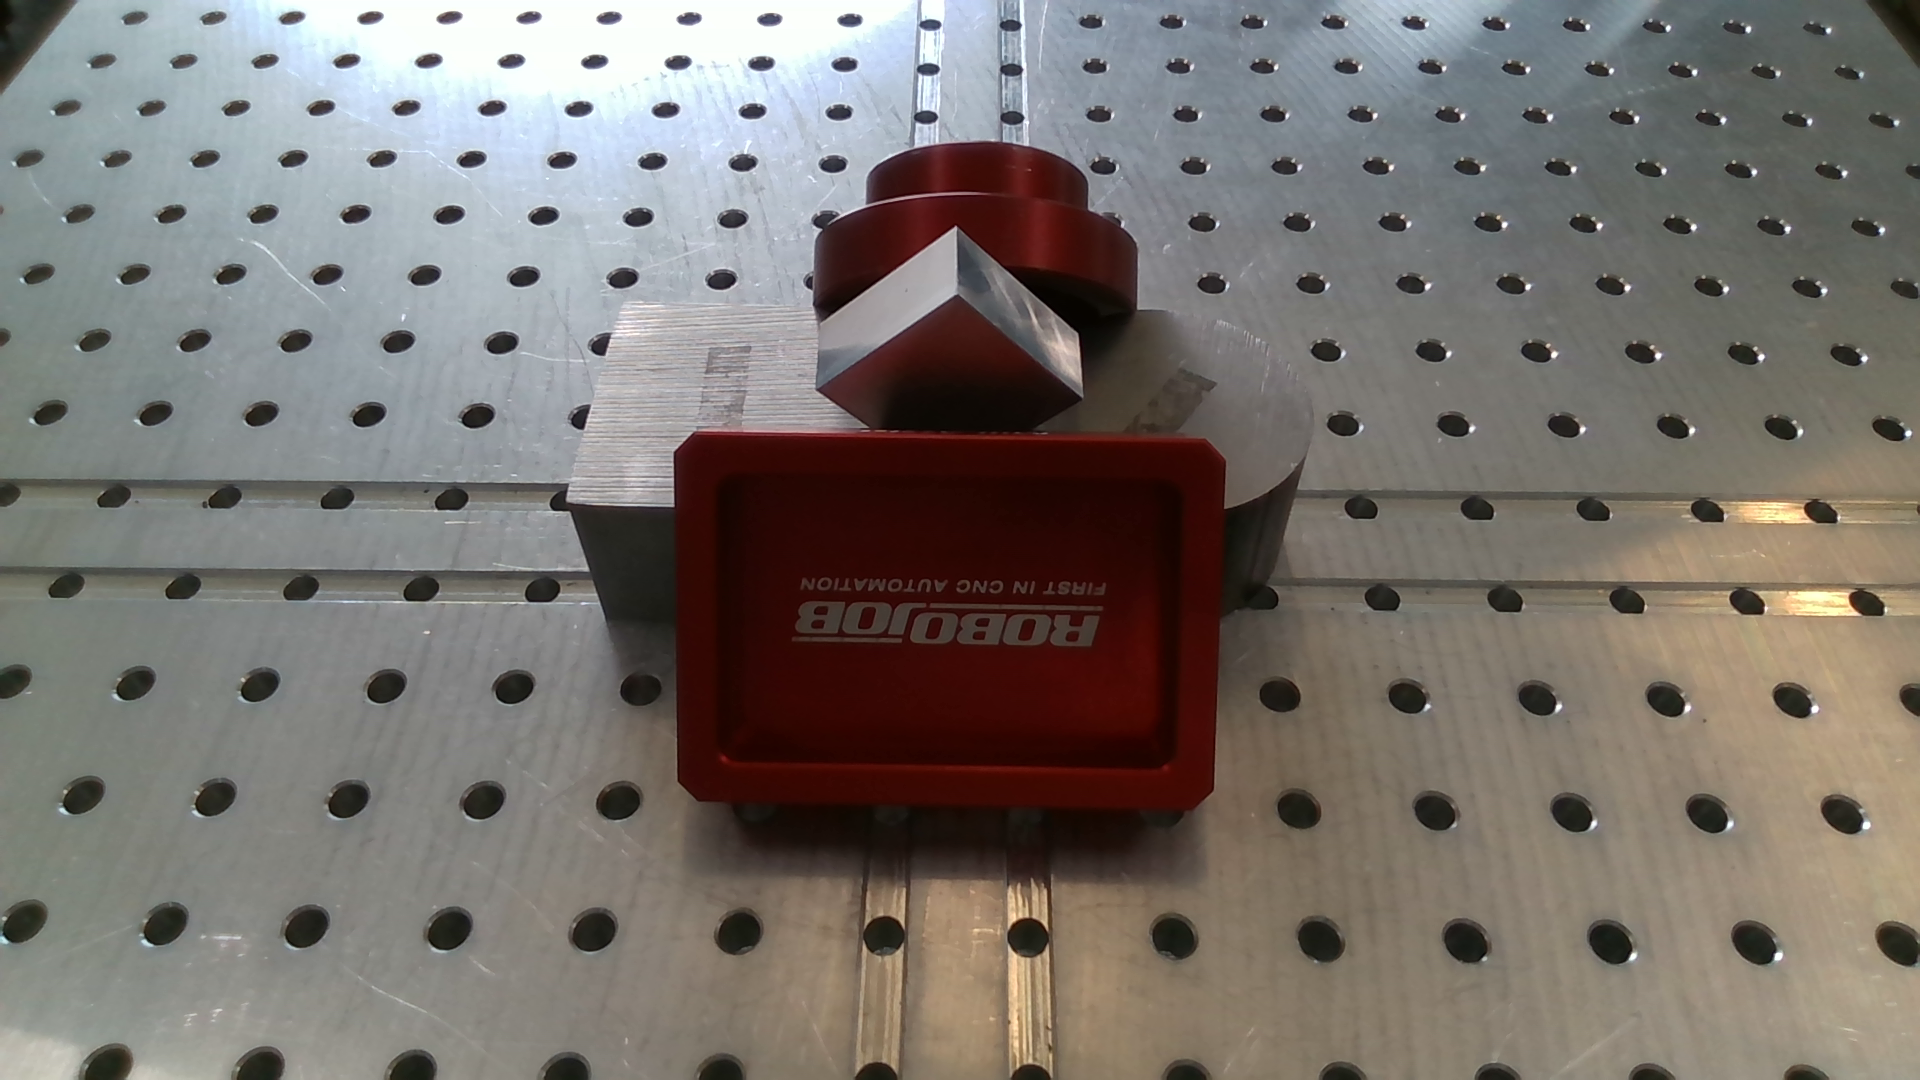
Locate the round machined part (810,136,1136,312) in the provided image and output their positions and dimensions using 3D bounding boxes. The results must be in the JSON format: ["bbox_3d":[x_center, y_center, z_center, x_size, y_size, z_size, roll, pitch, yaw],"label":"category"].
[{"bbox_3d":[0.004,-0.089,0.418,0.098,0.098,0.042,1,83,1],"label":"round machined part"}]

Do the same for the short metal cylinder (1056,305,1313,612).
[{"bbox_3d":[0.057,-0.022,0.398,0.080,0.050,0.080,0,50,0],"label":"short metal cylinder"}]

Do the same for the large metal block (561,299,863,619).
[{"bbox_3d":[-0.062,-0.023,0.400,0.080,0.050,0.080,2,50,1],"label":"large metal block"}]

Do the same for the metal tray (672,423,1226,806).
[{"bbox_3d":[-0.003,0.017,0.342,0.130,0.090,0.030,1,7,1],"label":"metal tray"}]

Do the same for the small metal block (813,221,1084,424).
[{"bbox_3d":[-0.003,-0.049,0.366,0.050,0.050,0.025,-29,45,32],"label":"small metal block"}]
